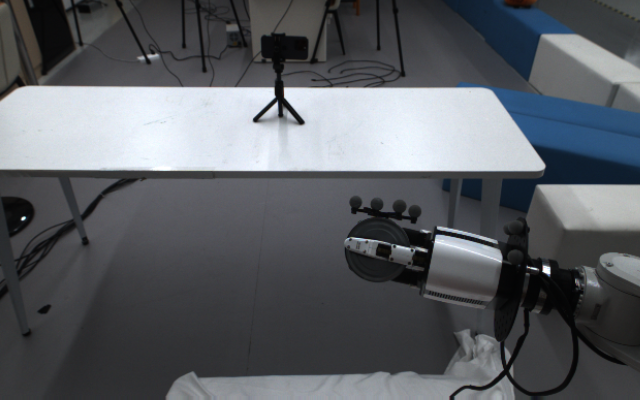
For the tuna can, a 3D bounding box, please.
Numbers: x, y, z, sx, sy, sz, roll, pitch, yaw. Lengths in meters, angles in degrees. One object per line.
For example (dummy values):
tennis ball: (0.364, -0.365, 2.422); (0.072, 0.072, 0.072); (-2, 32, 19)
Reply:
tuna can: (0.078, 0.063, 0.642); (0.085, 0.085, 0.034); (11, -7, 12)
